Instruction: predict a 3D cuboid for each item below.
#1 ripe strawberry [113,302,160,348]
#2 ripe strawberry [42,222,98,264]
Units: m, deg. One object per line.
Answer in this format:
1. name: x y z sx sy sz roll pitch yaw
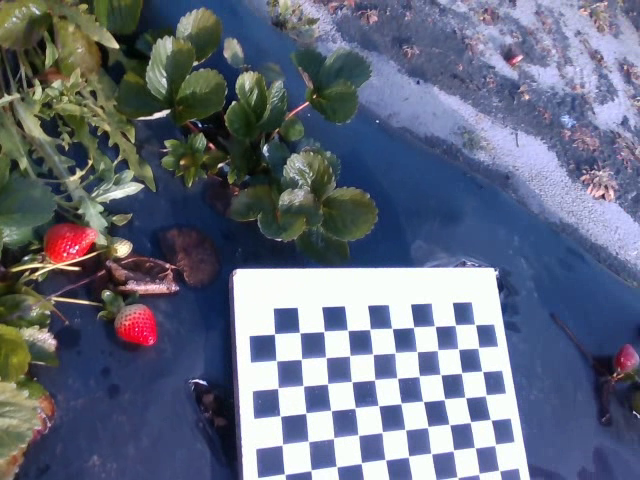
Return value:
1. ripe strawberry: -0.152 0.071 0.508 0.035 0.043 0.030 -38 -4 -27
2. ripe strawberry: -0.206 -0.002 0.507 0.048 0.040 0.031 -21 -11 17
